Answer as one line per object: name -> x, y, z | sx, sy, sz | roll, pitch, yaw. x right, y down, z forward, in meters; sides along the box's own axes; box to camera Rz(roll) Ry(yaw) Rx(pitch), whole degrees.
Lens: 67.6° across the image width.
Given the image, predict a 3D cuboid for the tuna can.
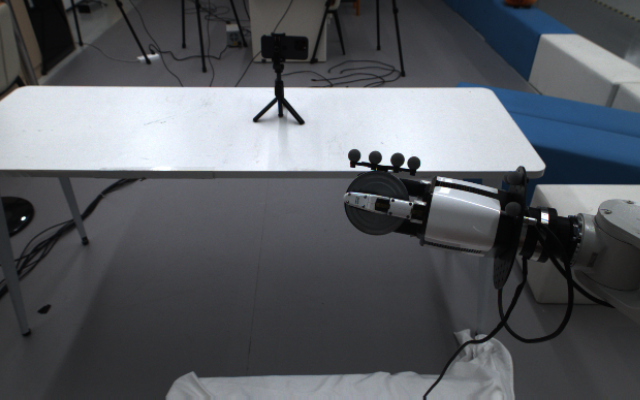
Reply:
tuna can -> 0.078, 0.000, 0.647 | 0.085, 0.085, 0.034 | 11, 2, 12
